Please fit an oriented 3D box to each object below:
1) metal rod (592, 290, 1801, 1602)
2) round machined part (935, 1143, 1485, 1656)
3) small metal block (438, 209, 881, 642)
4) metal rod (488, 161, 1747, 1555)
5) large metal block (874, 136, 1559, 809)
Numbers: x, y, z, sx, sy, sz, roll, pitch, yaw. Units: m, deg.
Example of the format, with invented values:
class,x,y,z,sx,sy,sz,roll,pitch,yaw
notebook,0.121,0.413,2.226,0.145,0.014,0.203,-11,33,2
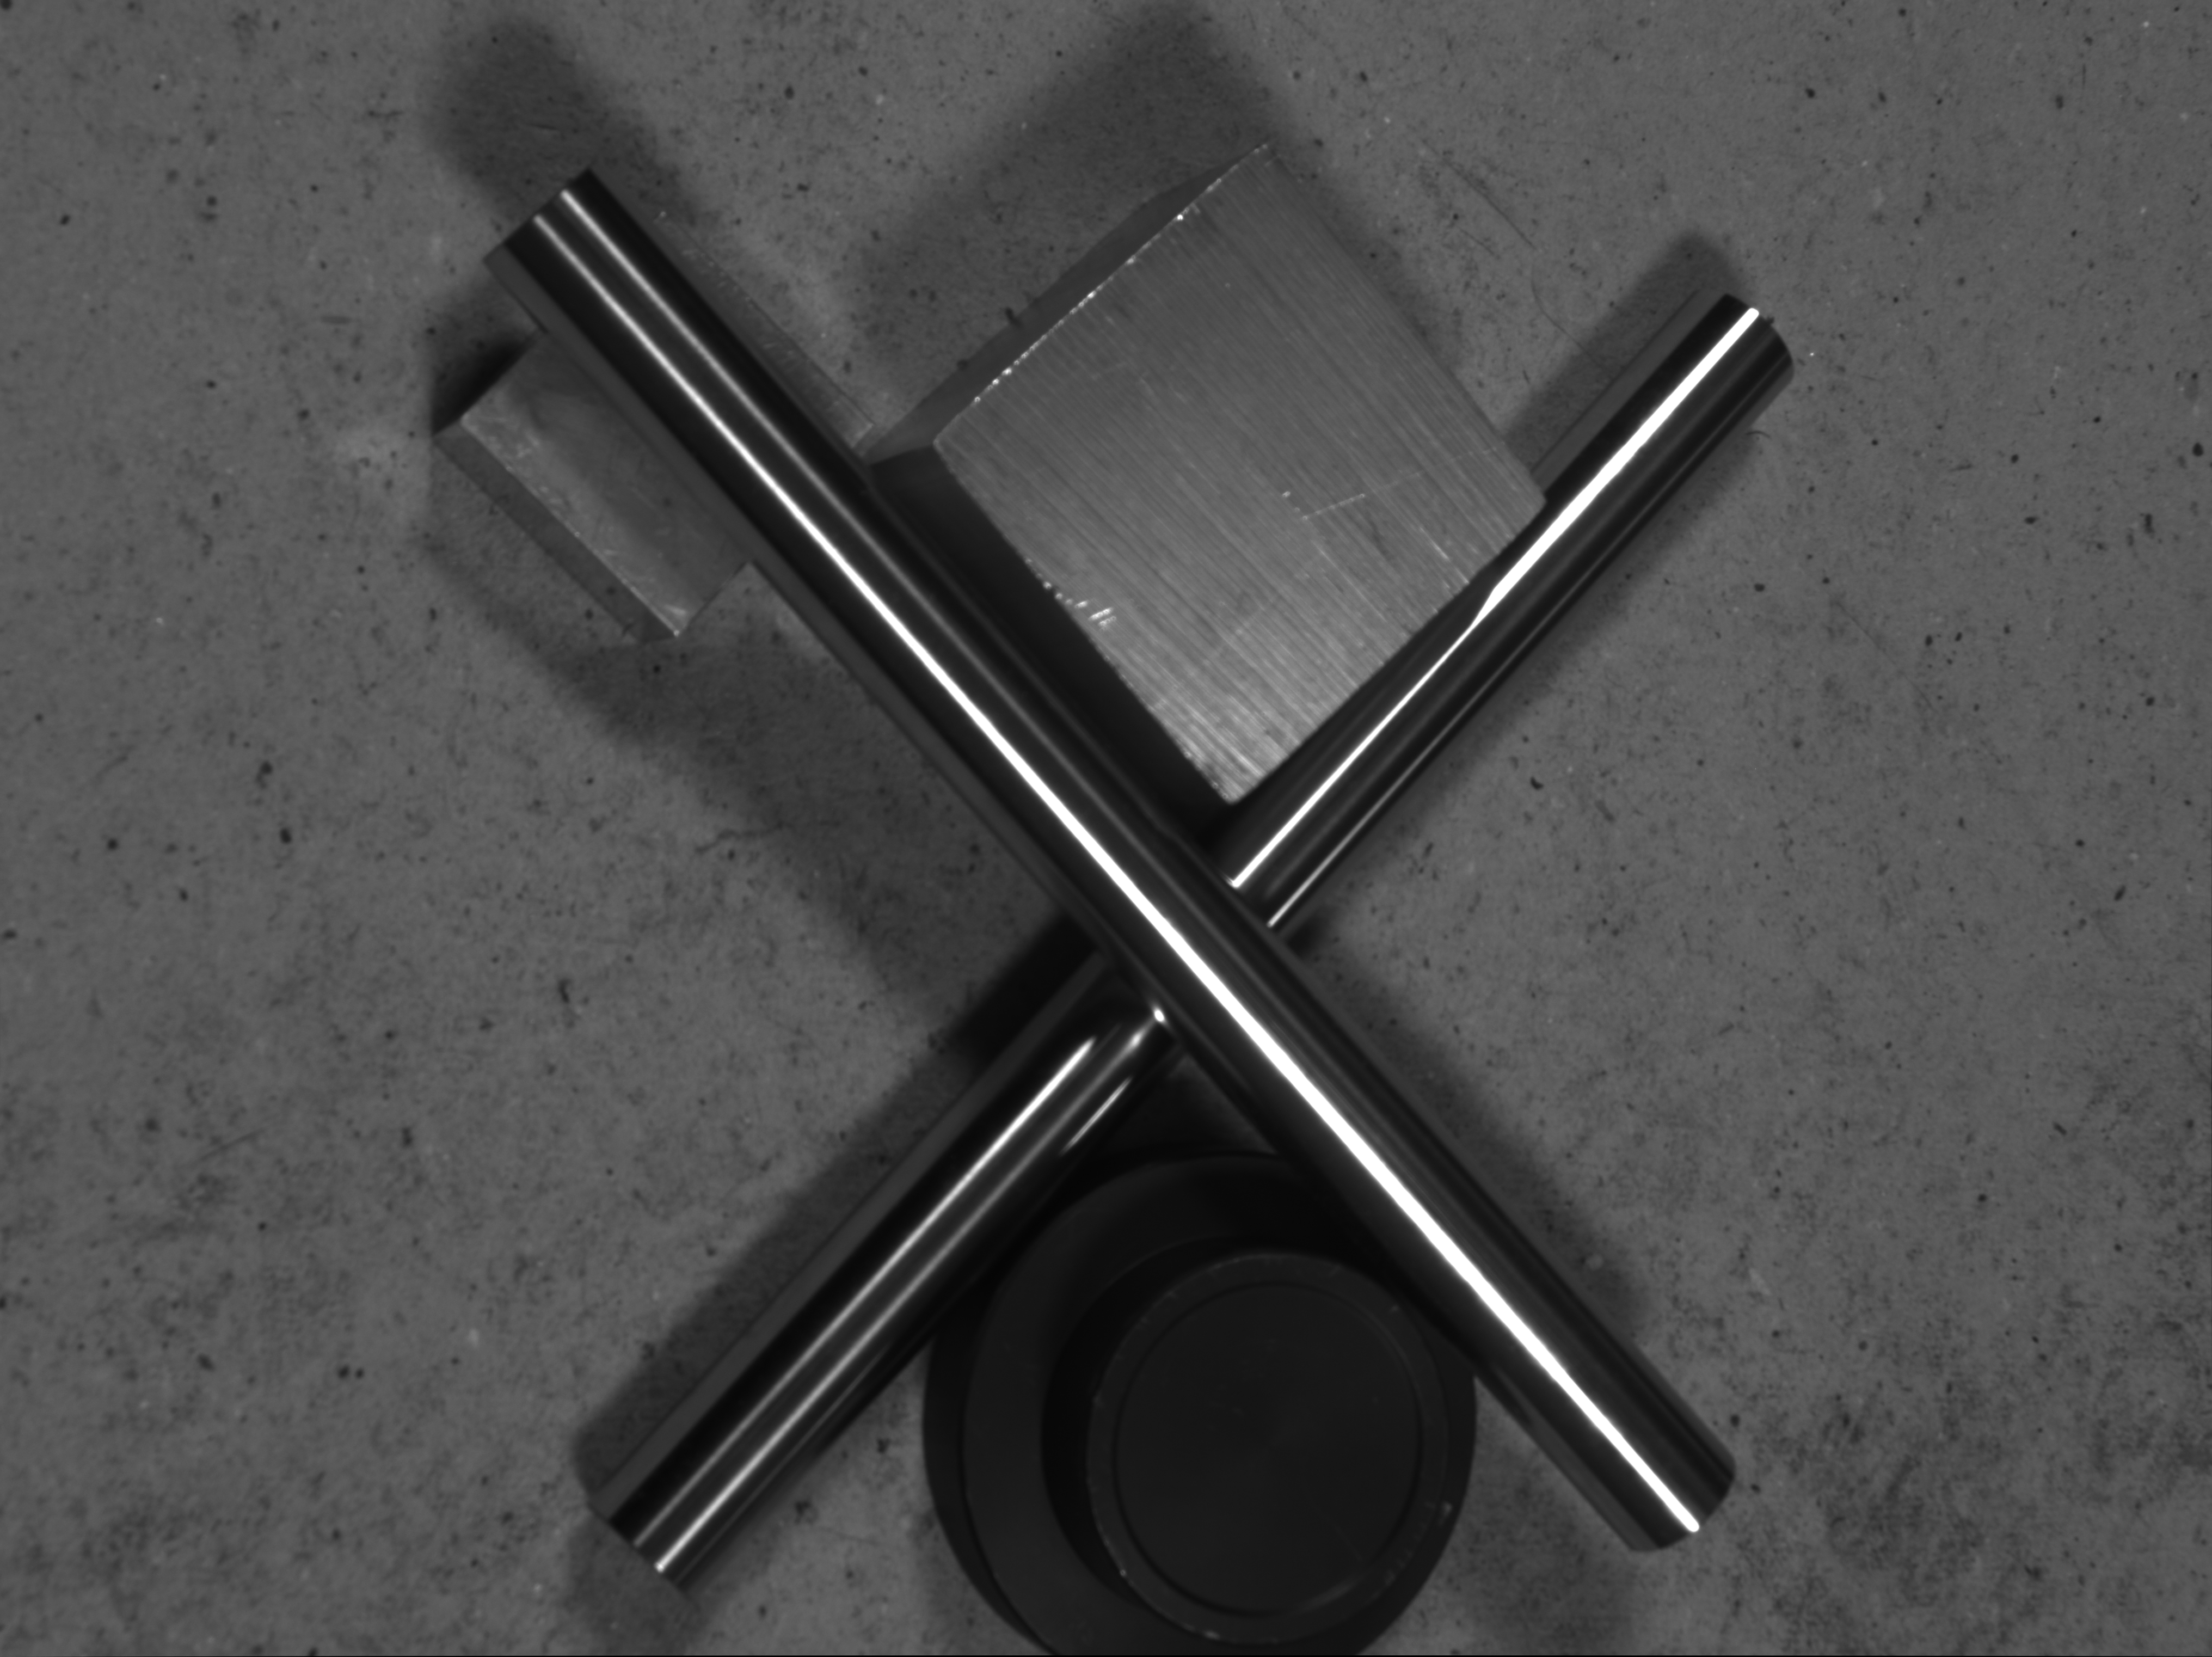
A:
class,x,y,z,sx,sy,sz,roll,pitch,yaw
metal rod,0.022,0.015,0.653,0.025,0.025,0.300,46,76,-14
round machined part,0.023,0.106,0.642,0.098,0.042,0.098,0,90,-20
small metal block,-0.075,-0.067,0.617,0.050,0.025,0.050,45,76,-14
metal rod,0.008,0.011,0.619,0.025,0.025,0.300,-45,104,-14
large metal block,0.017,-0.060,0.638,0.080,0.050,0.080,-43,103,-15
